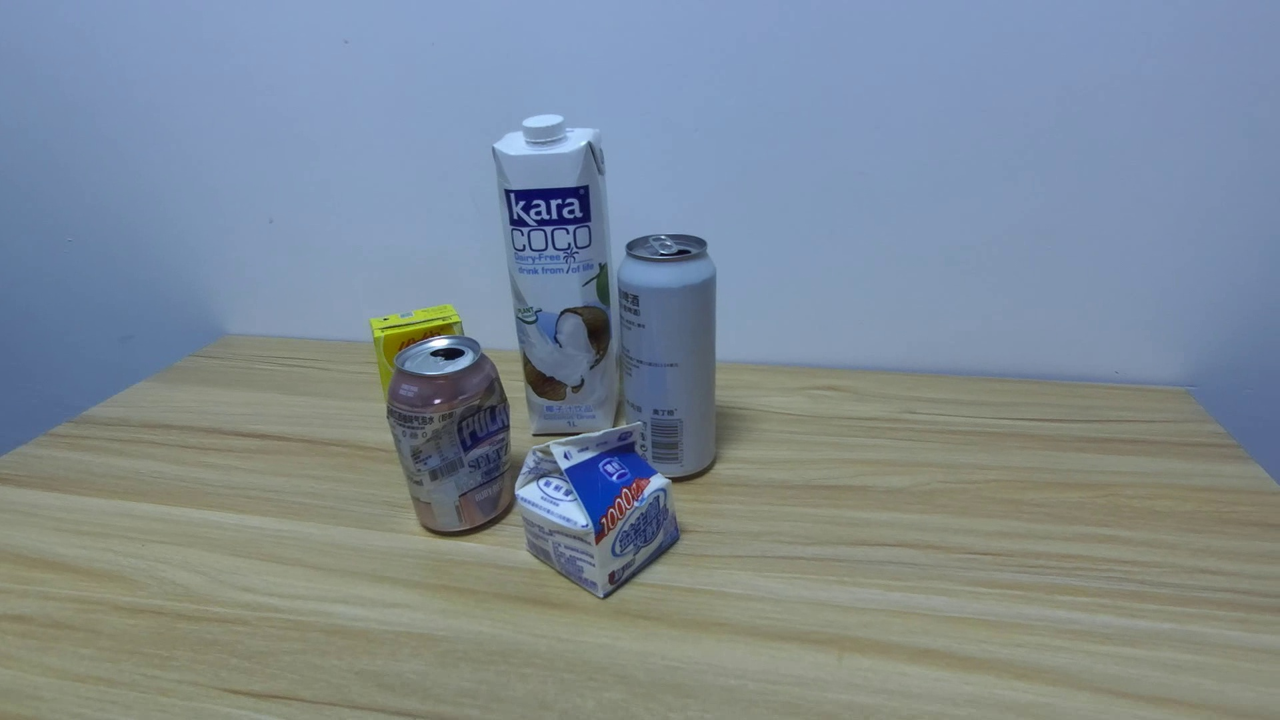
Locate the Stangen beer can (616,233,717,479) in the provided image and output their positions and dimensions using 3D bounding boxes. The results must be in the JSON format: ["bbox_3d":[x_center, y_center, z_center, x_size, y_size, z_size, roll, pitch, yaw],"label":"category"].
[{"bbox_3d":[0.021,0.000,0.500,0.067,0.171,0.067,-3,25,2],"label":"Stangen beer can"}]

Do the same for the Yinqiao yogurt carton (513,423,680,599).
[{"bbox_3d":[-0.028,0.078,0.432,0.077,0.093,0.083,19,33,39],"label":"Yinqiao yogurt carton"}]

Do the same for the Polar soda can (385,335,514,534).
[{"bbox_3d":[-0.122,0.051,0.471,0.074,0.122,0.067,-8,25,-9],"label":"Polar soda can"}]
